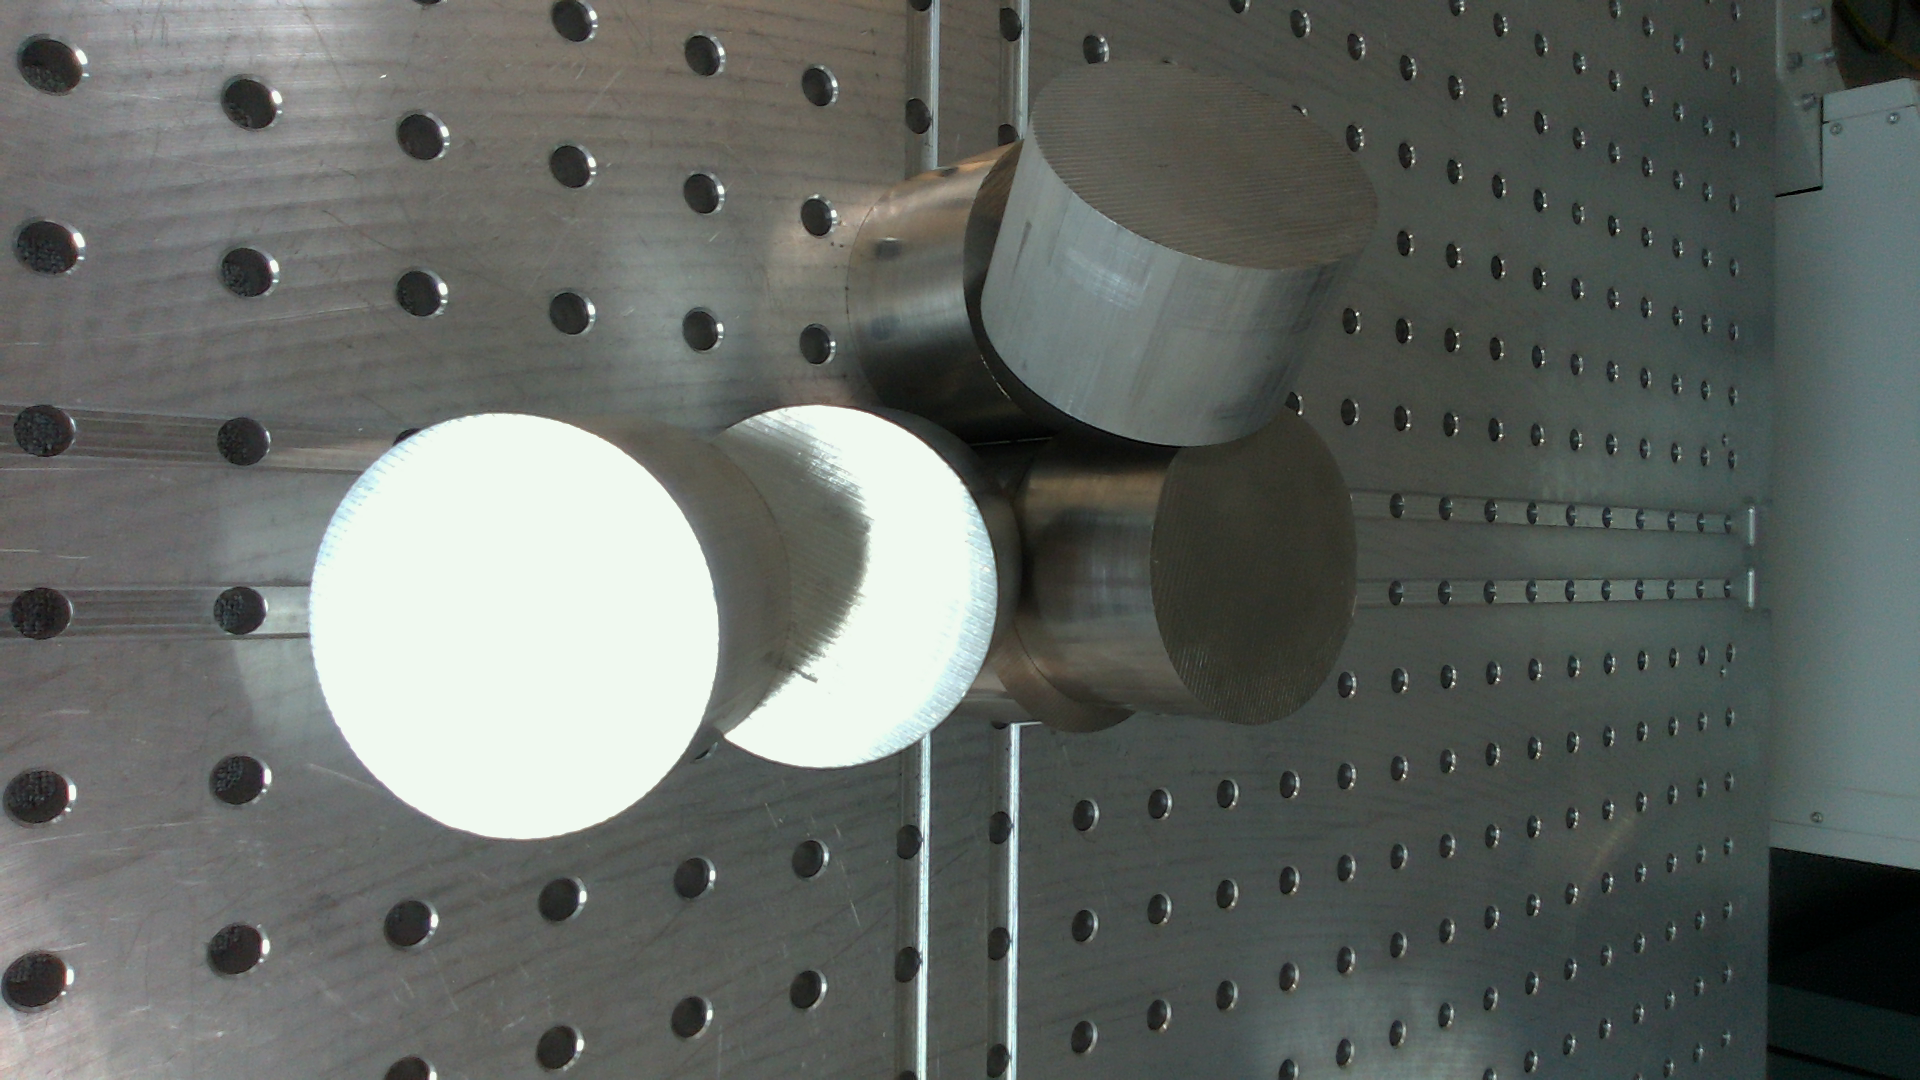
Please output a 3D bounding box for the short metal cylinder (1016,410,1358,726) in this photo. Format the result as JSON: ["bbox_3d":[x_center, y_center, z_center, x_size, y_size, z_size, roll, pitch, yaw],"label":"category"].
[{"bbox_3d":[0.058,0.006,0.357,0.080,0.050,0.080,0,90,-40],"label":"short metal cylinder"}]

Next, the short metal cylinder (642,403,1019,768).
[{"bbox_3d":[-0.028,0.008,0.324,0.050,0.080,0.080,-32,117,-80],"label":"short metal cylinder"}]

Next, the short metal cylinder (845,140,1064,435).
[{"bbox_3d":[0.015,-0.069,0.387,0.080,0.050,0.080,0,90,-40],"label":"short metal cylinder"}]

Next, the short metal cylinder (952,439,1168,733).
[{"bbox_3d":[0.018,0.012,0.390,0.080,0.050,0.080,0,90,-40],"label":"short metal cylinder"}]

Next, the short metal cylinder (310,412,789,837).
[{"bbox_3d":[-0.080,0.014,0.281,0.050,0.080,0.080,-36,120,-80],"label":"short metal cylinder"}]

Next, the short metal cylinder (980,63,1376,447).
[{"bbox_3d":[0.049,-0.068,0.323,0.080,0.080,0.050,-30,152,-36],"label":"short metal cylinder"}]
